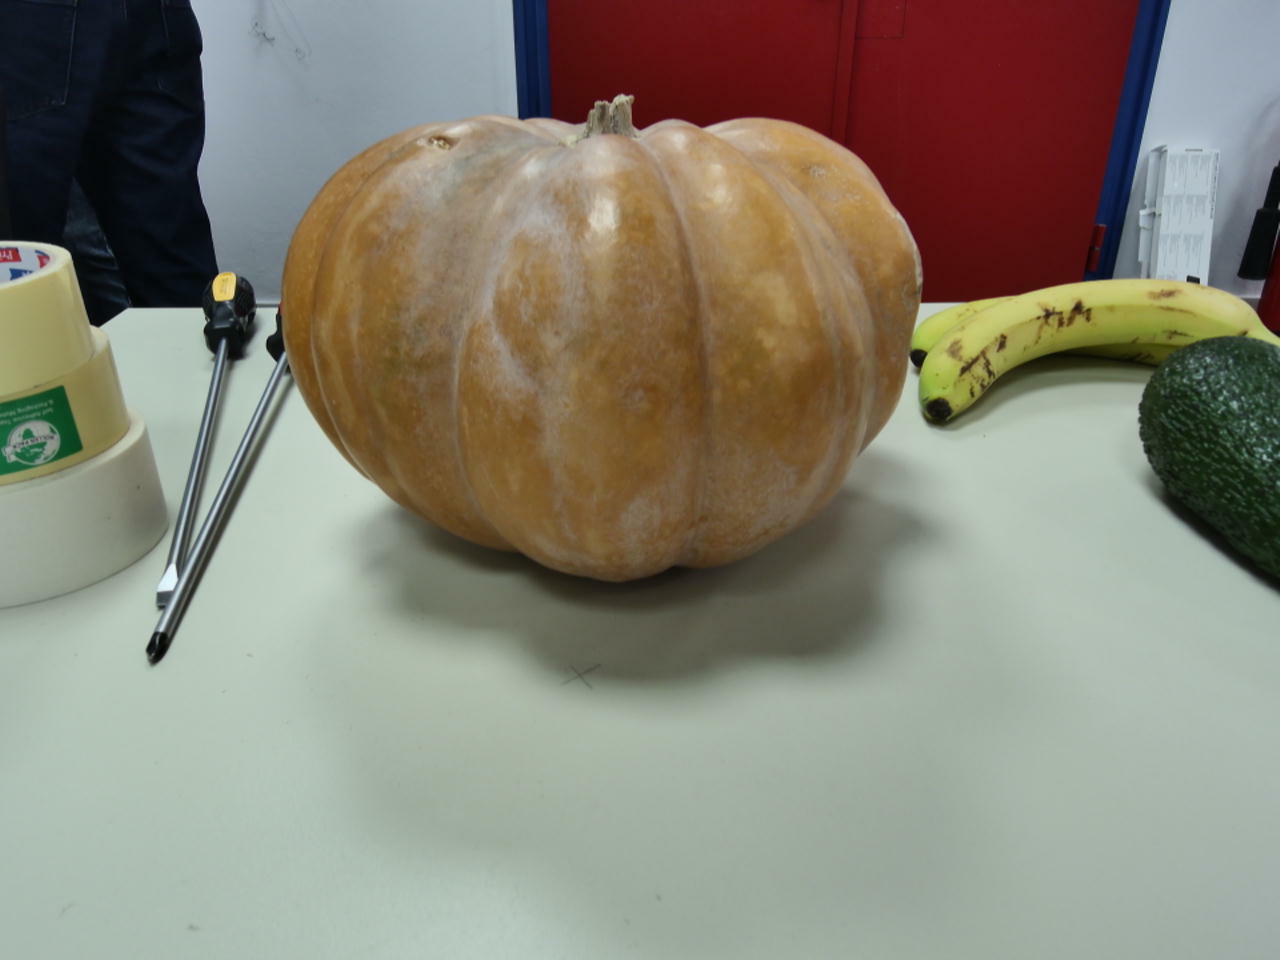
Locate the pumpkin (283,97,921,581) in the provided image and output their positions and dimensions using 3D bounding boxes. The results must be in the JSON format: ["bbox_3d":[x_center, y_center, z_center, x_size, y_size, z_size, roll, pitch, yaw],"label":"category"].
[{"bbox_3d":[-0.013,-0.069,0.433,0.277,0.181,0.277,0,25,0],"label":"pumpkin"}]
